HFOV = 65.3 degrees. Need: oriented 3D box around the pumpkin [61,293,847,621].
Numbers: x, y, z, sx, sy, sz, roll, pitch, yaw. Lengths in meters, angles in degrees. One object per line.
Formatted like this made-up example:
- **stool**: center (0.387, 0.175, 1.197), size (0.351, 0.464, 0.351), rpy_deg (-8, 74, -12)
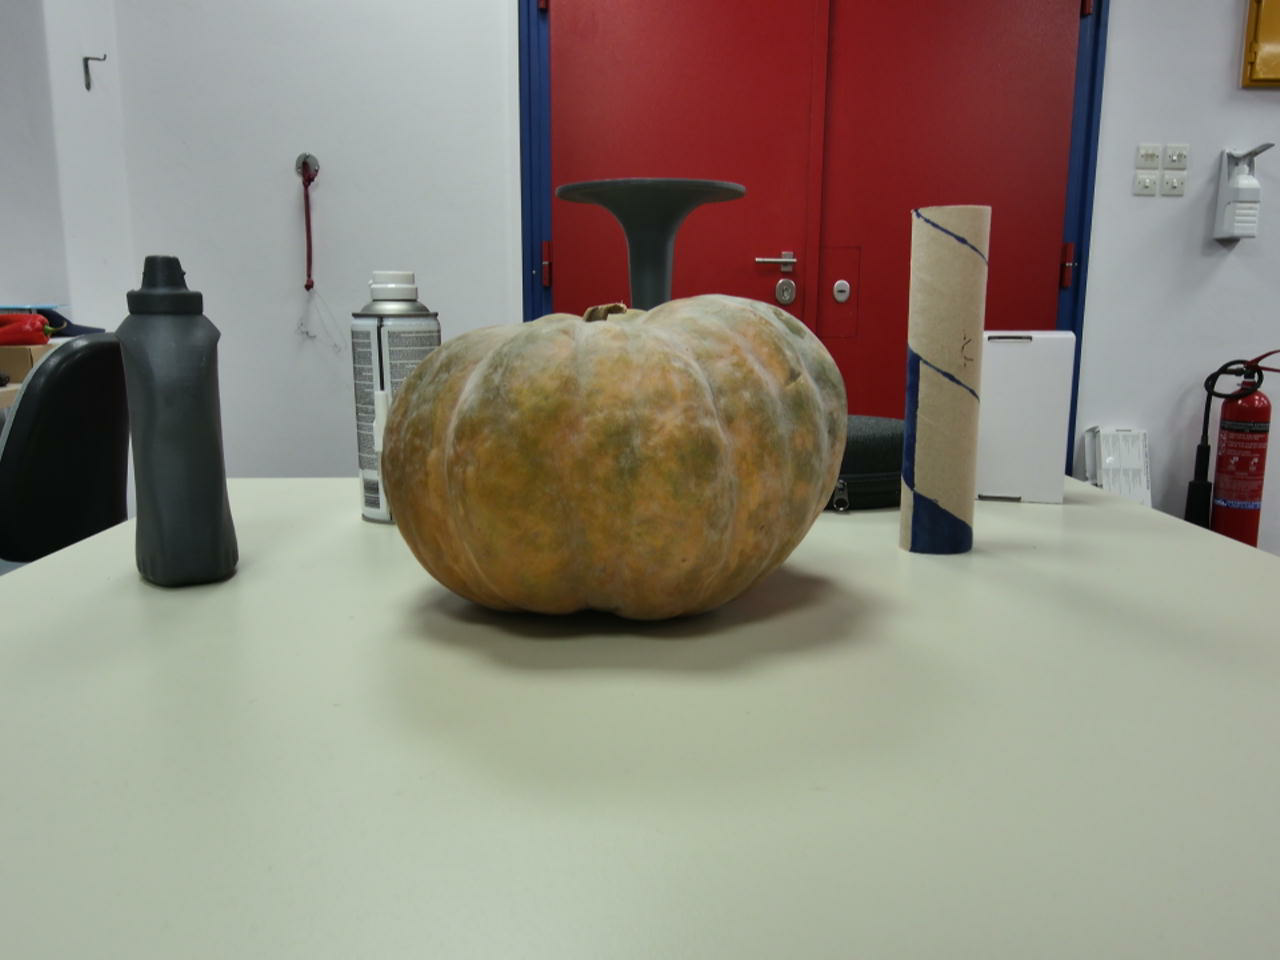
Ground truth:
- **pumpkin**: center (-0.019, -0.016, 0.551), size (0.252, 0.168, 0.252), rpy_deg (0, 8, 0)
